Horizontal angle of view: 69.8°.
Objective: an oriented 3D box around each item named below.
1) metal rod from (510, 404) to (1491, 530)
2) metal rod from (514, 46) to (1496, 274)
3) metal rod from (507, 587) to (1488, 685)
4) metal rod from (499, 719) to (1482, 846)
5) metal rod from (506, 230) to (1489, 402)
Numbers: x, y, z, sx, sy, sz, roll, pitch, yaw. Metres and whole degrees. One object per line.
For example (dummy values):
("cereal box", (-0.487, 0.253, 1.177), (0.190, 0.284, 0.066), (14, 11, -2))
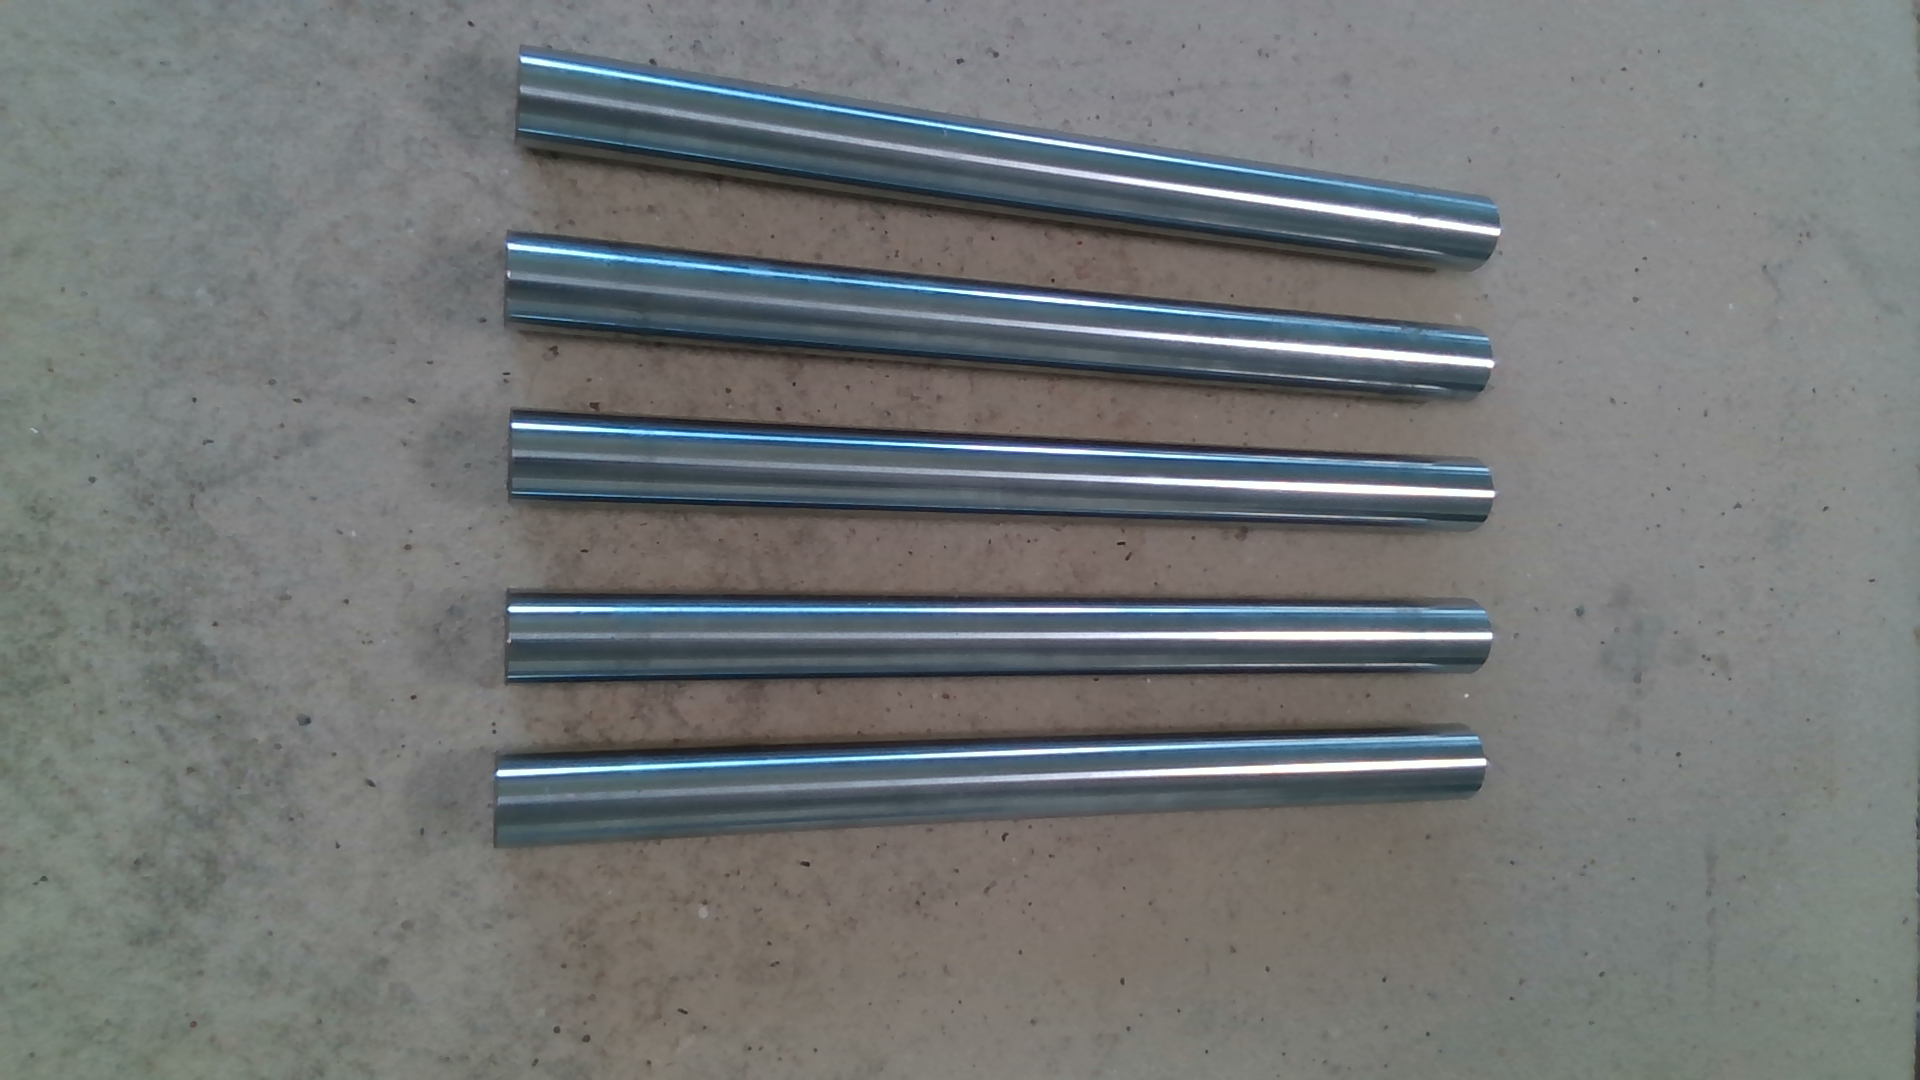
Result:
("metal rod", (0.026, -0.019, 0.404), (0.300, 0.025, 0.025), (1, 90, -20))
("metal rod", (0.028, -0.107, 0.403), (0.300, 0.025, 0.025), (2, 89, -20))
("metal rod", (0.025, 0.028, 0.403), (0.300, 0.025, 0.025), (1, 90, -20))
("metal rod", (0.023, 0.069, 0.403), (0.300, 0.025, 0.025), (1, 90, -20))
("metal rod", (0.025, -0.062, 0.403), (0.300, 0.025, 0.025), (2, 89, -20))
